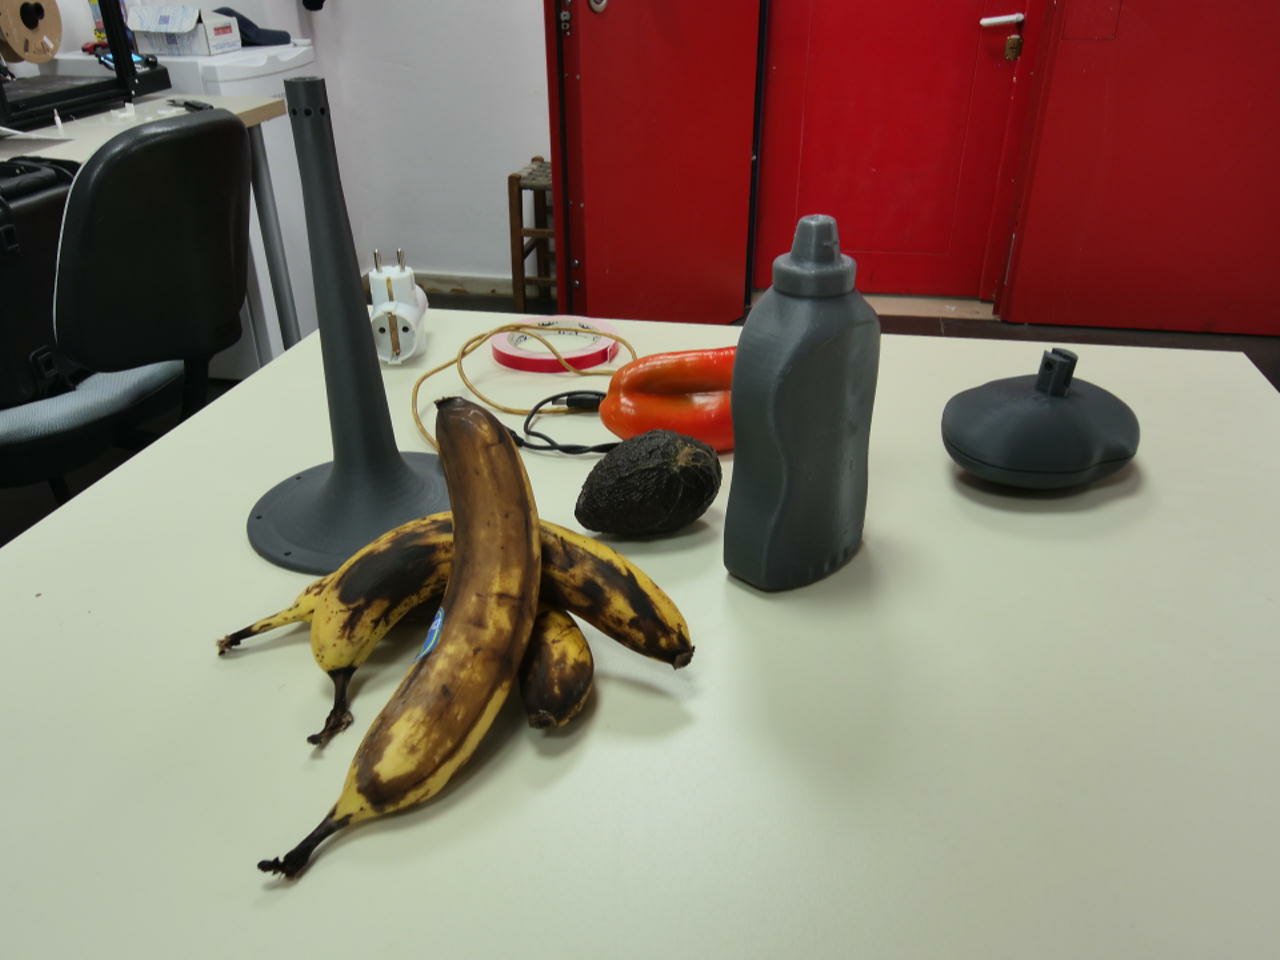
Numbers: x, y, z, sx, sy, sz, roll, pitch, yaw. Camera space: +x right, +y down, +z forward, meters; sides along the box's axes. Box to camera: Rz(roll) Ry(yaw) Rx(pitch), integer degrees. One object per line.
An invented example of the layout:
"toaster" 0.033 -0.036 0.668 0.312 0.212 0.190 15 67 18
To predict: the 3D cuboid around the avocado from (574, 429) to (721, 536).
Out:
"avocado" 0.004 0.002 0.602 0.092 0.062 0.062 -6 27 -11
